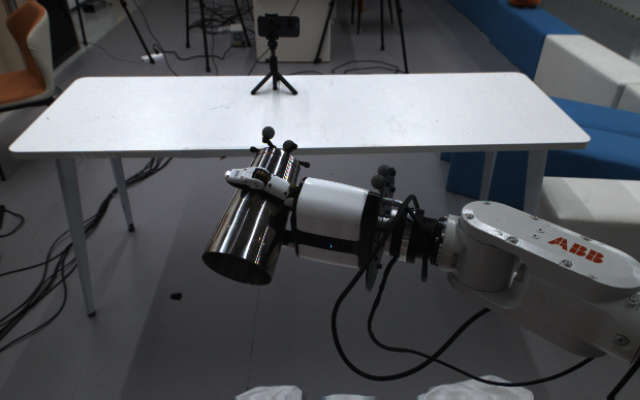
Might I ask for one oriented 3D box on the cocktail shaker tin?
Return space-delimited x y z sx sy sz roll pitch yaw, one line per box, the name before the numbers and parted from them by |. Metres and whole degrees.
cocktail shaker tin | -0.081 0.016 0.640 0.093 0.093 0.170 10 60 12
